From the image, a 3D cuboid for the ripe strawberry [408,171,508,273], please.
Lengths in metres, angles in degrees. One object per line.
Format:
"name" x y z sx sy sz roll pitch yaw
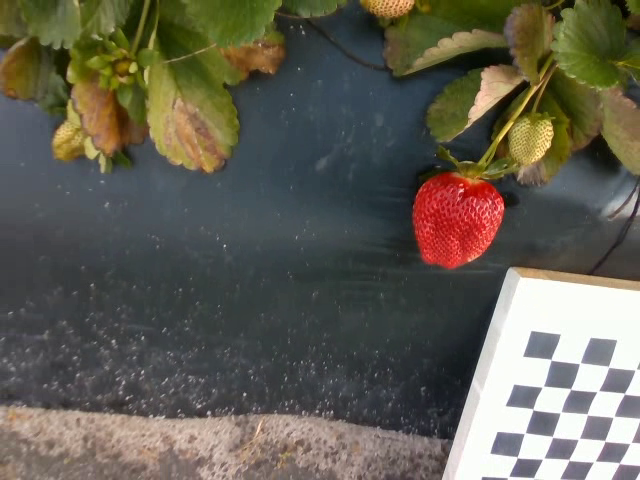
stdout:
"ripe strawberry" 0.093 -0.013 0.398 0.067 0.075 0.039 12 18 -6
